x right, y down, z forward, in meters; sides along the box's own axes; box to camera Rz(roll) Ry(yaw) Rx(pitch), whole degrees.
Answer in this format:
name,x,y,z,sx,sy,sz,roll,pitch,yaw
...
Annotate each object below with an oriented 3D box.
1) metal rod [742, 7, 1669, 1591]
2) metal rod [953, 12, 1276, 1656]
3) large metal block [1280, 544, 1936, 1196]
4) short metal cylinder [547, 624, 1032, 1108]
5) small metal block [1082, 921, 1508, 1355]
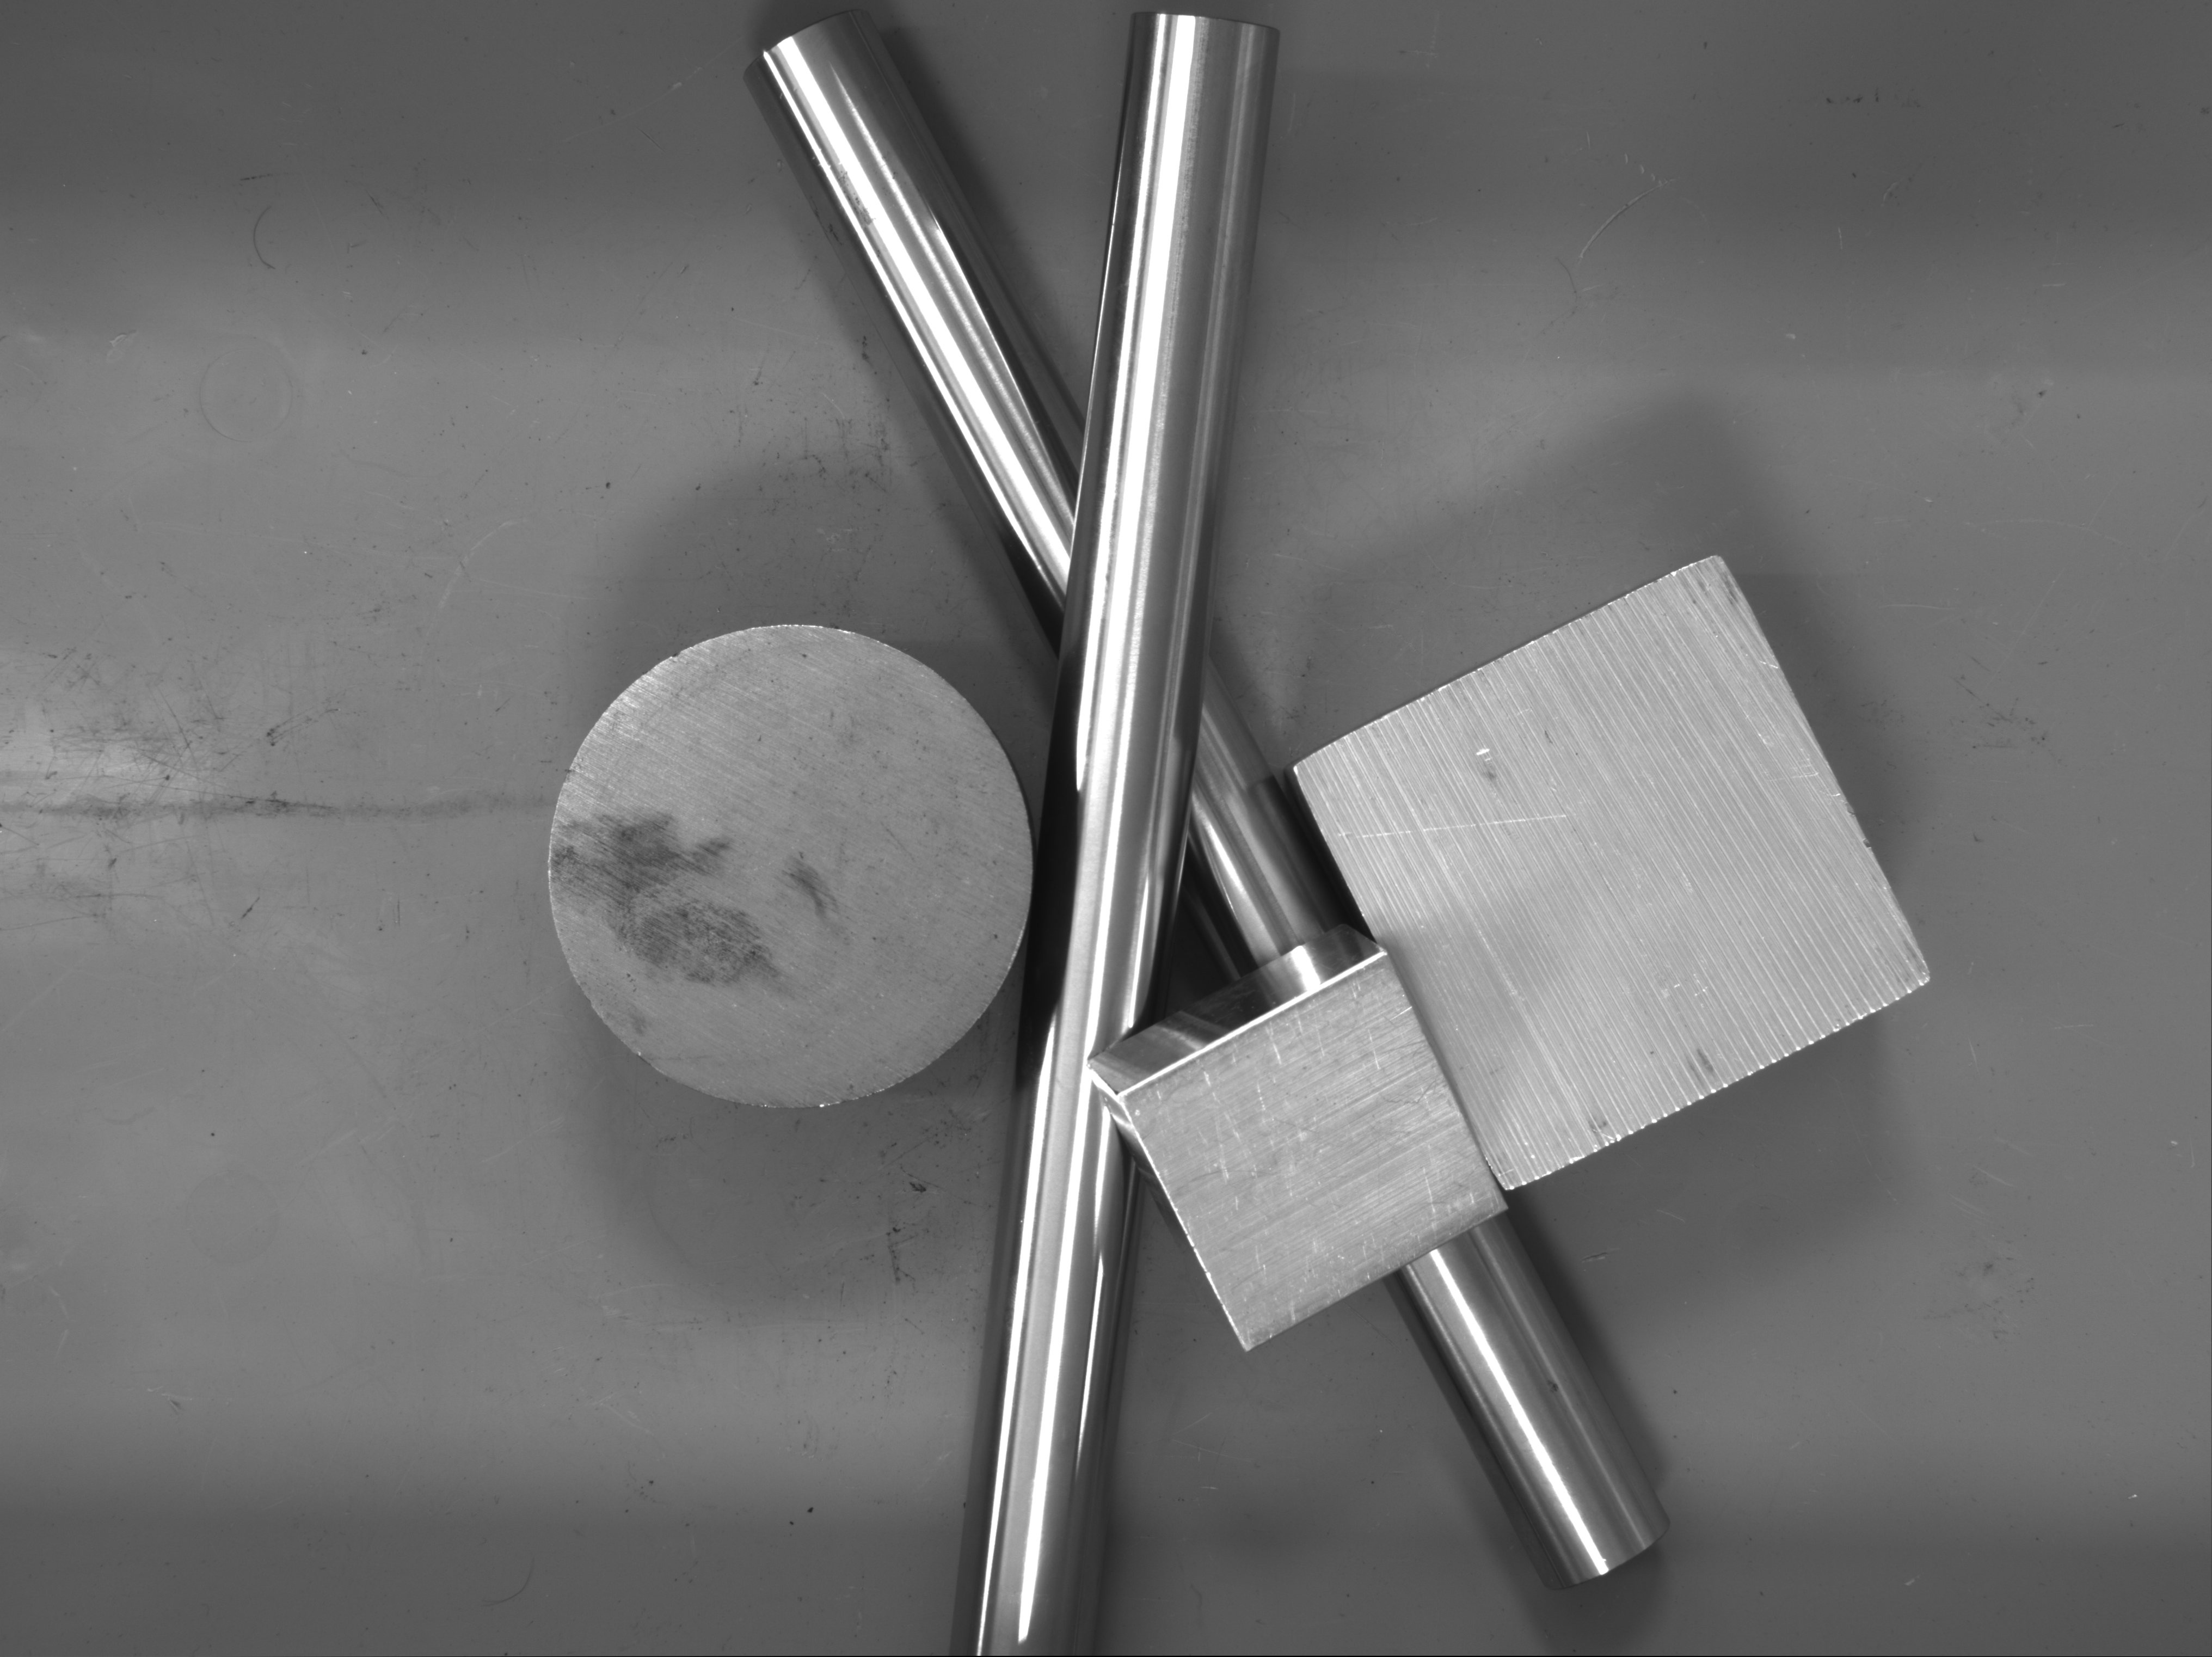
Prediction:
name,x,y,z,sx,sy,sz,roll,pitch,yaw
metal rod,0.018,-0.005,0.644,0.025,0.025,0.300,-28,90,0
metal rod,0.000,0.015,0.625,0.025,0.025,0.300,6,98,0
large metal block,0.083,0.007,0.632,0.080,0.050,0.080,-27,90,0
short metal cylinder,-0.052,0.006,0.632,0.080,0.050,0.080,0,90,0
small metal block,0.031,0.051,0.613,0.050,0.025,0.050,-28,105,-8
